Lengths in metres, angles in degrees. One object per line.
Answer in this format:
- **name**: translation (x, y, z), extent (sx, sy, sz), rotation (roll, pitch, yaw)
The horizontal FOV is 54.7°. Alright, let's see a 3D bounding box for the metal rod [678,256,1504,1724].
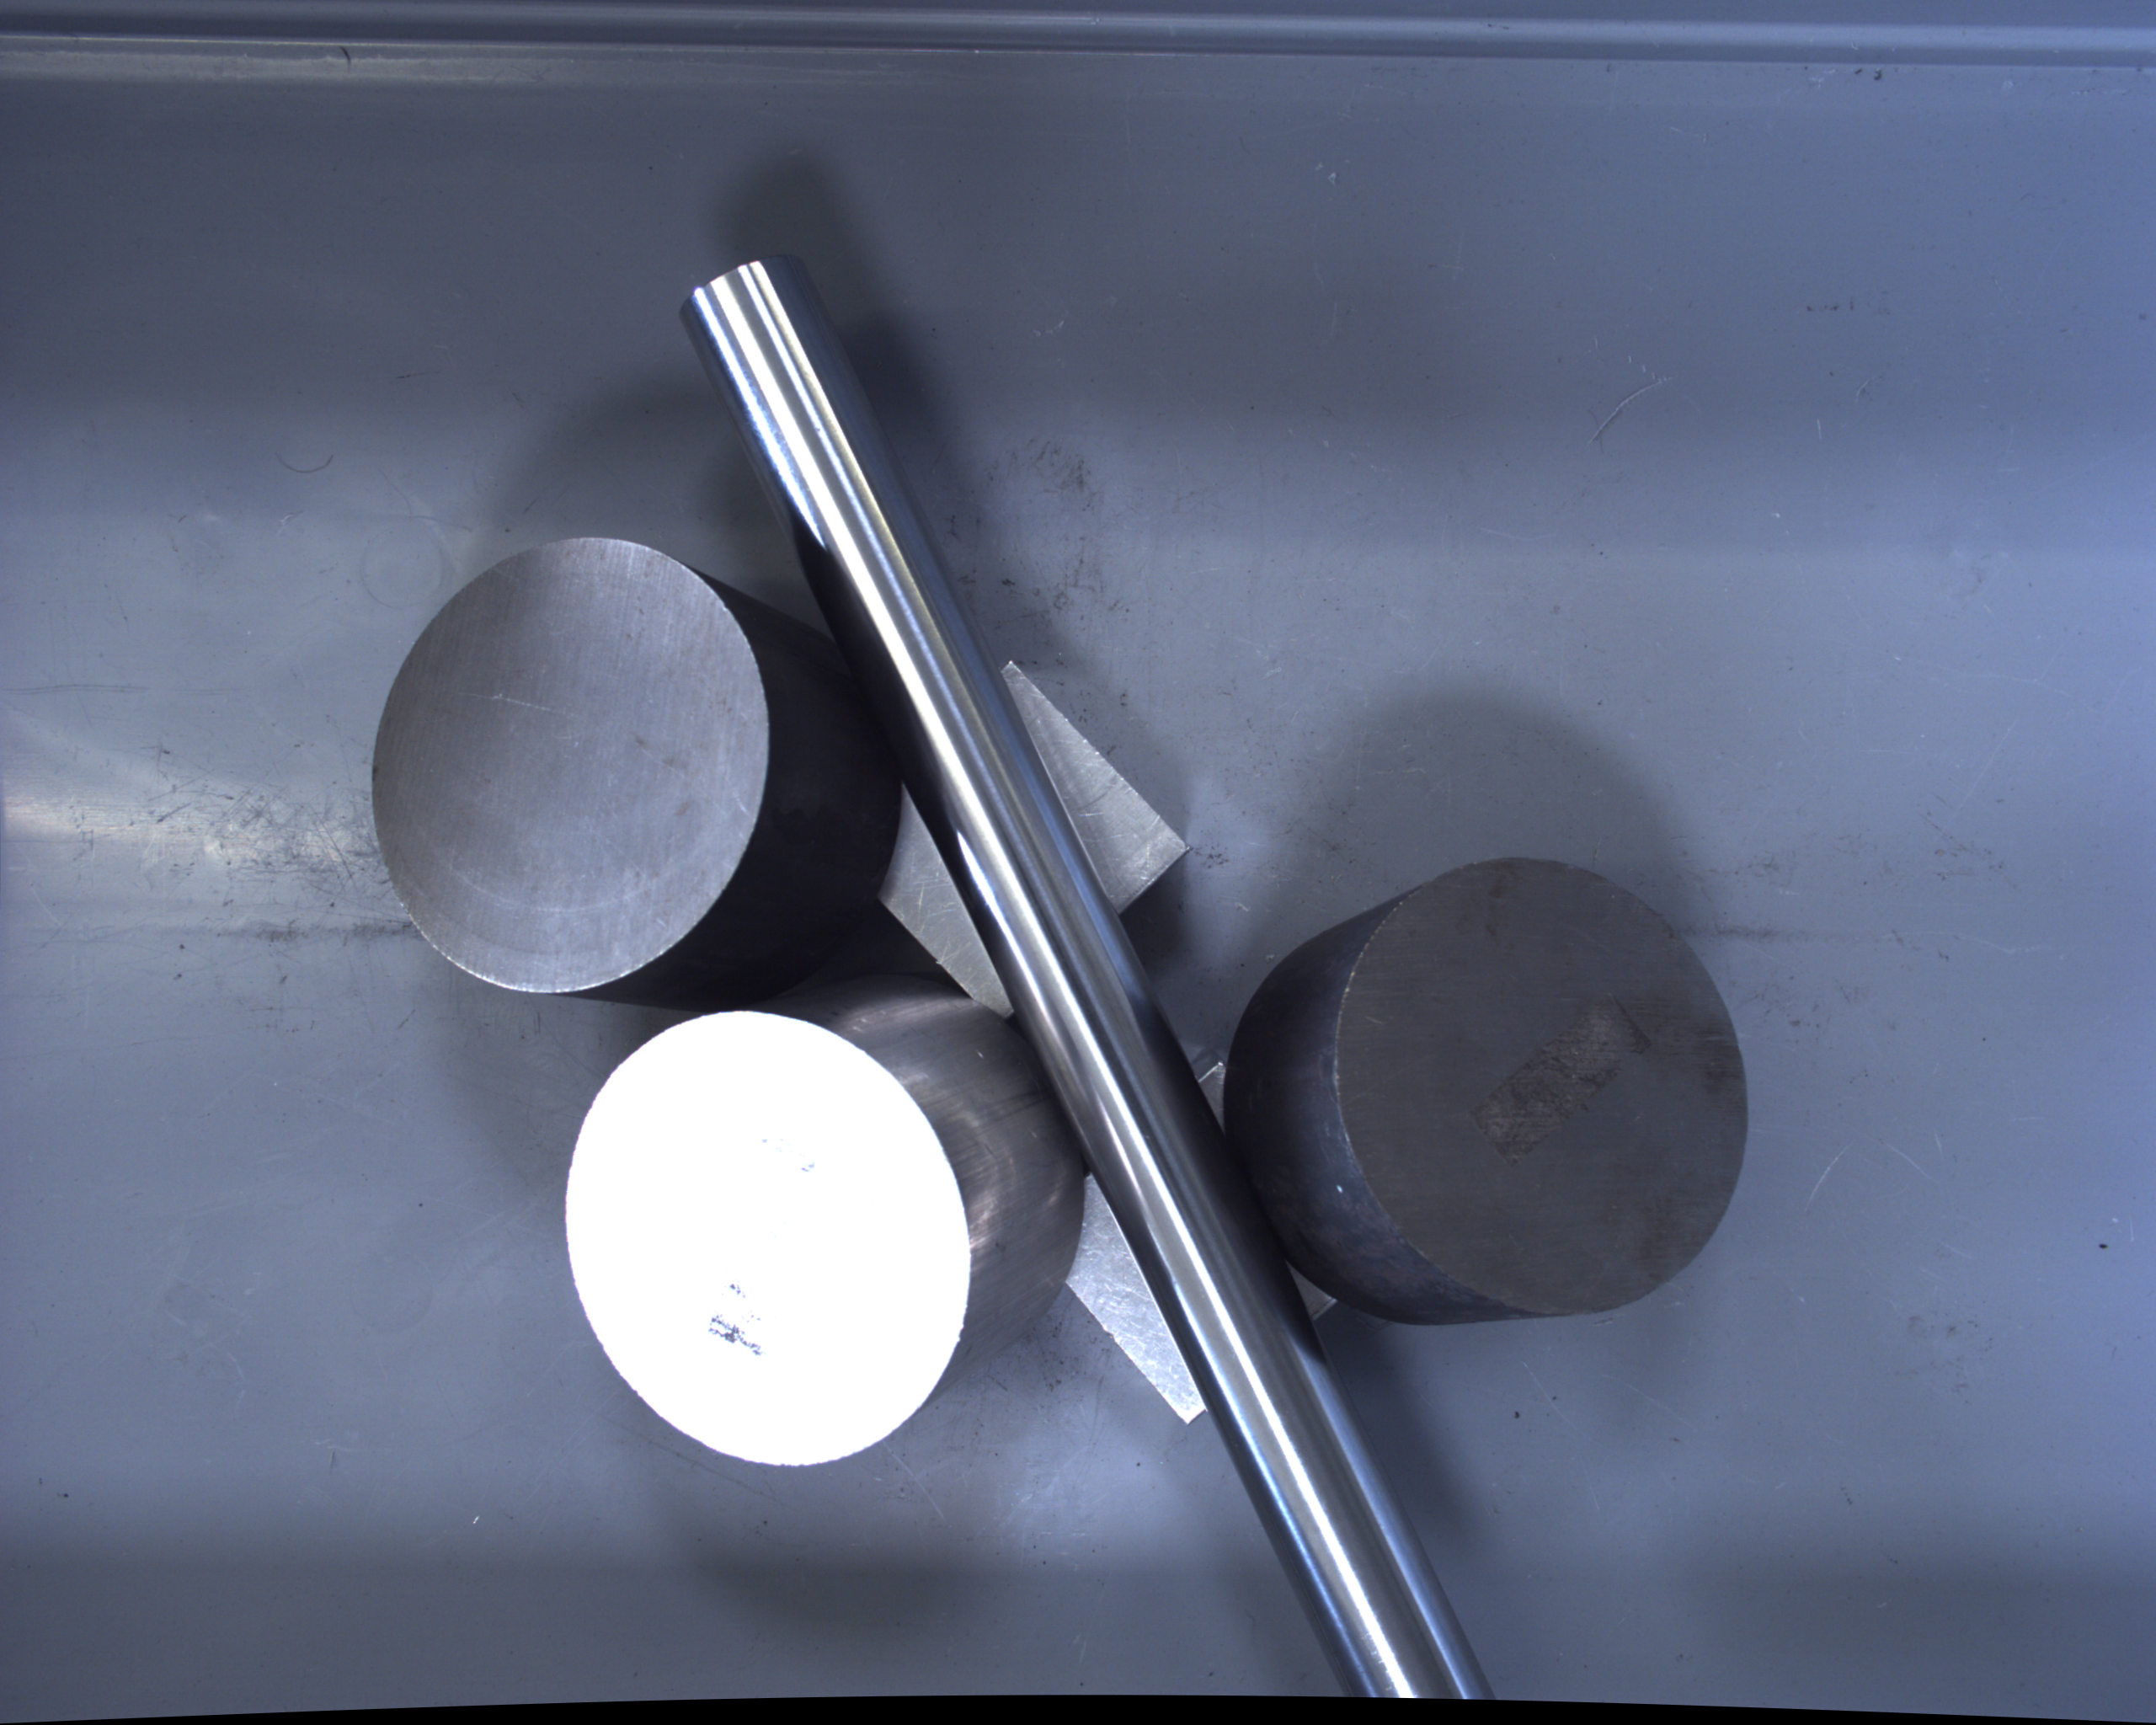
- **metal rod**: translation (0.002, 0.029, 0.384), extent (0.025, 0.025, 0.299), rotation (-26, 90, 0)

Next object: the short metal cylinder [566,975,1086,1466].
- **short metal cylinder**: translation (-0.045, 0.063, 0.383), extent (0.080, 0.050, 0.079), rotation (2, 95, 22)

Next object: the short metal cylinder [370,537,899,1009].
- **short metal cylinder**: translation (-0.080, -0.014, 0.383), extent (0.080, 0.050, 0.080), rotation (-3, 81, 20)

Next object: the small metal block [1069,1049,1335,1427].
- **small metal block**: translation (0.024, 0.073, 0.410), extent (0.050, 0.025, 0.050), rotation (-40, 90, 0)

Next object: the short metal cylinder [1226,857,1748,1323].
- **short metal cylinder**: translation (0.074, 0.044, 0.385), extent (0.081, 0.050, 0.080), rotation (5, 74, -18)

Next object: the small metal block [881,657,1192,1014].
- **small metal block**: translation (-0.014, -0.004, 0.410), extent (0.050, 0.025, 0.050), rotation (-43, 90, 0)
